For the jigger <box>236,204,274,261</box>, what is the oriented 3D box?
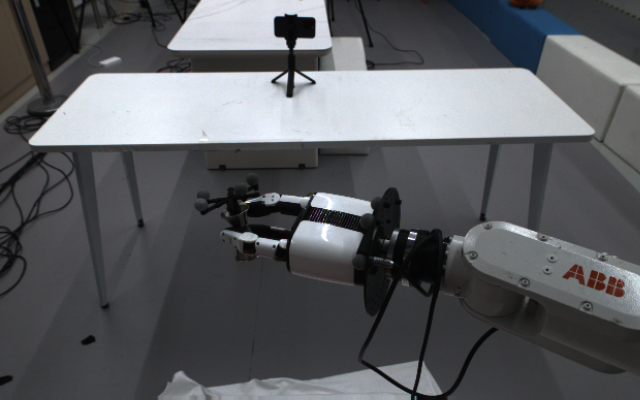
[{"bbox_3d":[-0.103,0.044,0.657,0.043,0.071,0.043,-14,22,6],"label":"jigger"}]
